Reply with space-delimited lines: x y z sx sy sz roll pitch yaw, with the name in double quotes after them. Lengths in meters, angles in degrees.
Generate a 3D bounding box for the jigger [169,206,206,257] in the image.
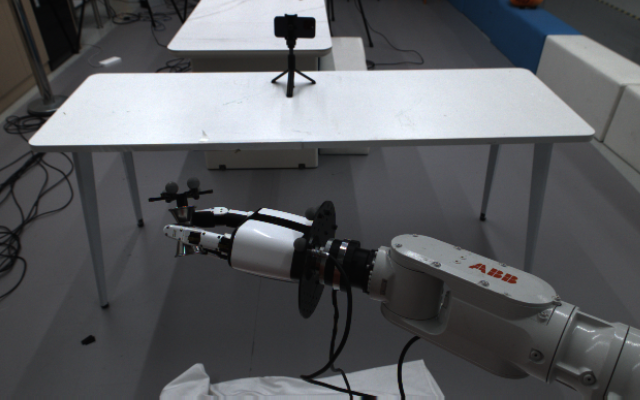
-0.189 0.045 0.689 0.043 0.071 0.043 -10 -3 -1 "jigger"
